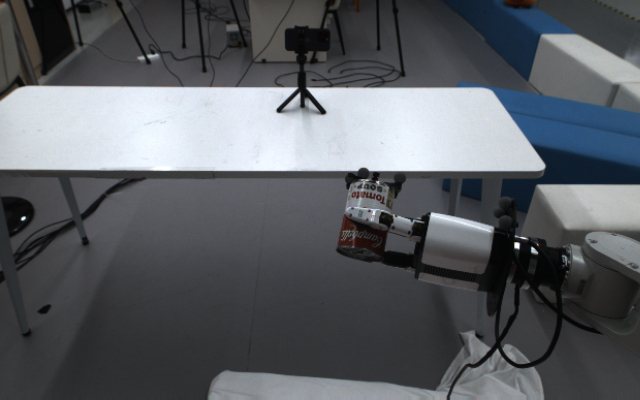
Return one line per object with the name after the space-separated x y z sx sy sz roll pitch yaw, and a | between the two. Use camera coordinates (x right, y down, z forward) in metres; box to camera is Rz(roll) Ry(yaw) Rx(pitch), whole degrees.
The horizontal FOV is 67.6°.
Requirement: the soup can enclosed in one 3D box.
0.067 0.028 0.687 0.067 0.067 0.101 9 72 10 | soup can
